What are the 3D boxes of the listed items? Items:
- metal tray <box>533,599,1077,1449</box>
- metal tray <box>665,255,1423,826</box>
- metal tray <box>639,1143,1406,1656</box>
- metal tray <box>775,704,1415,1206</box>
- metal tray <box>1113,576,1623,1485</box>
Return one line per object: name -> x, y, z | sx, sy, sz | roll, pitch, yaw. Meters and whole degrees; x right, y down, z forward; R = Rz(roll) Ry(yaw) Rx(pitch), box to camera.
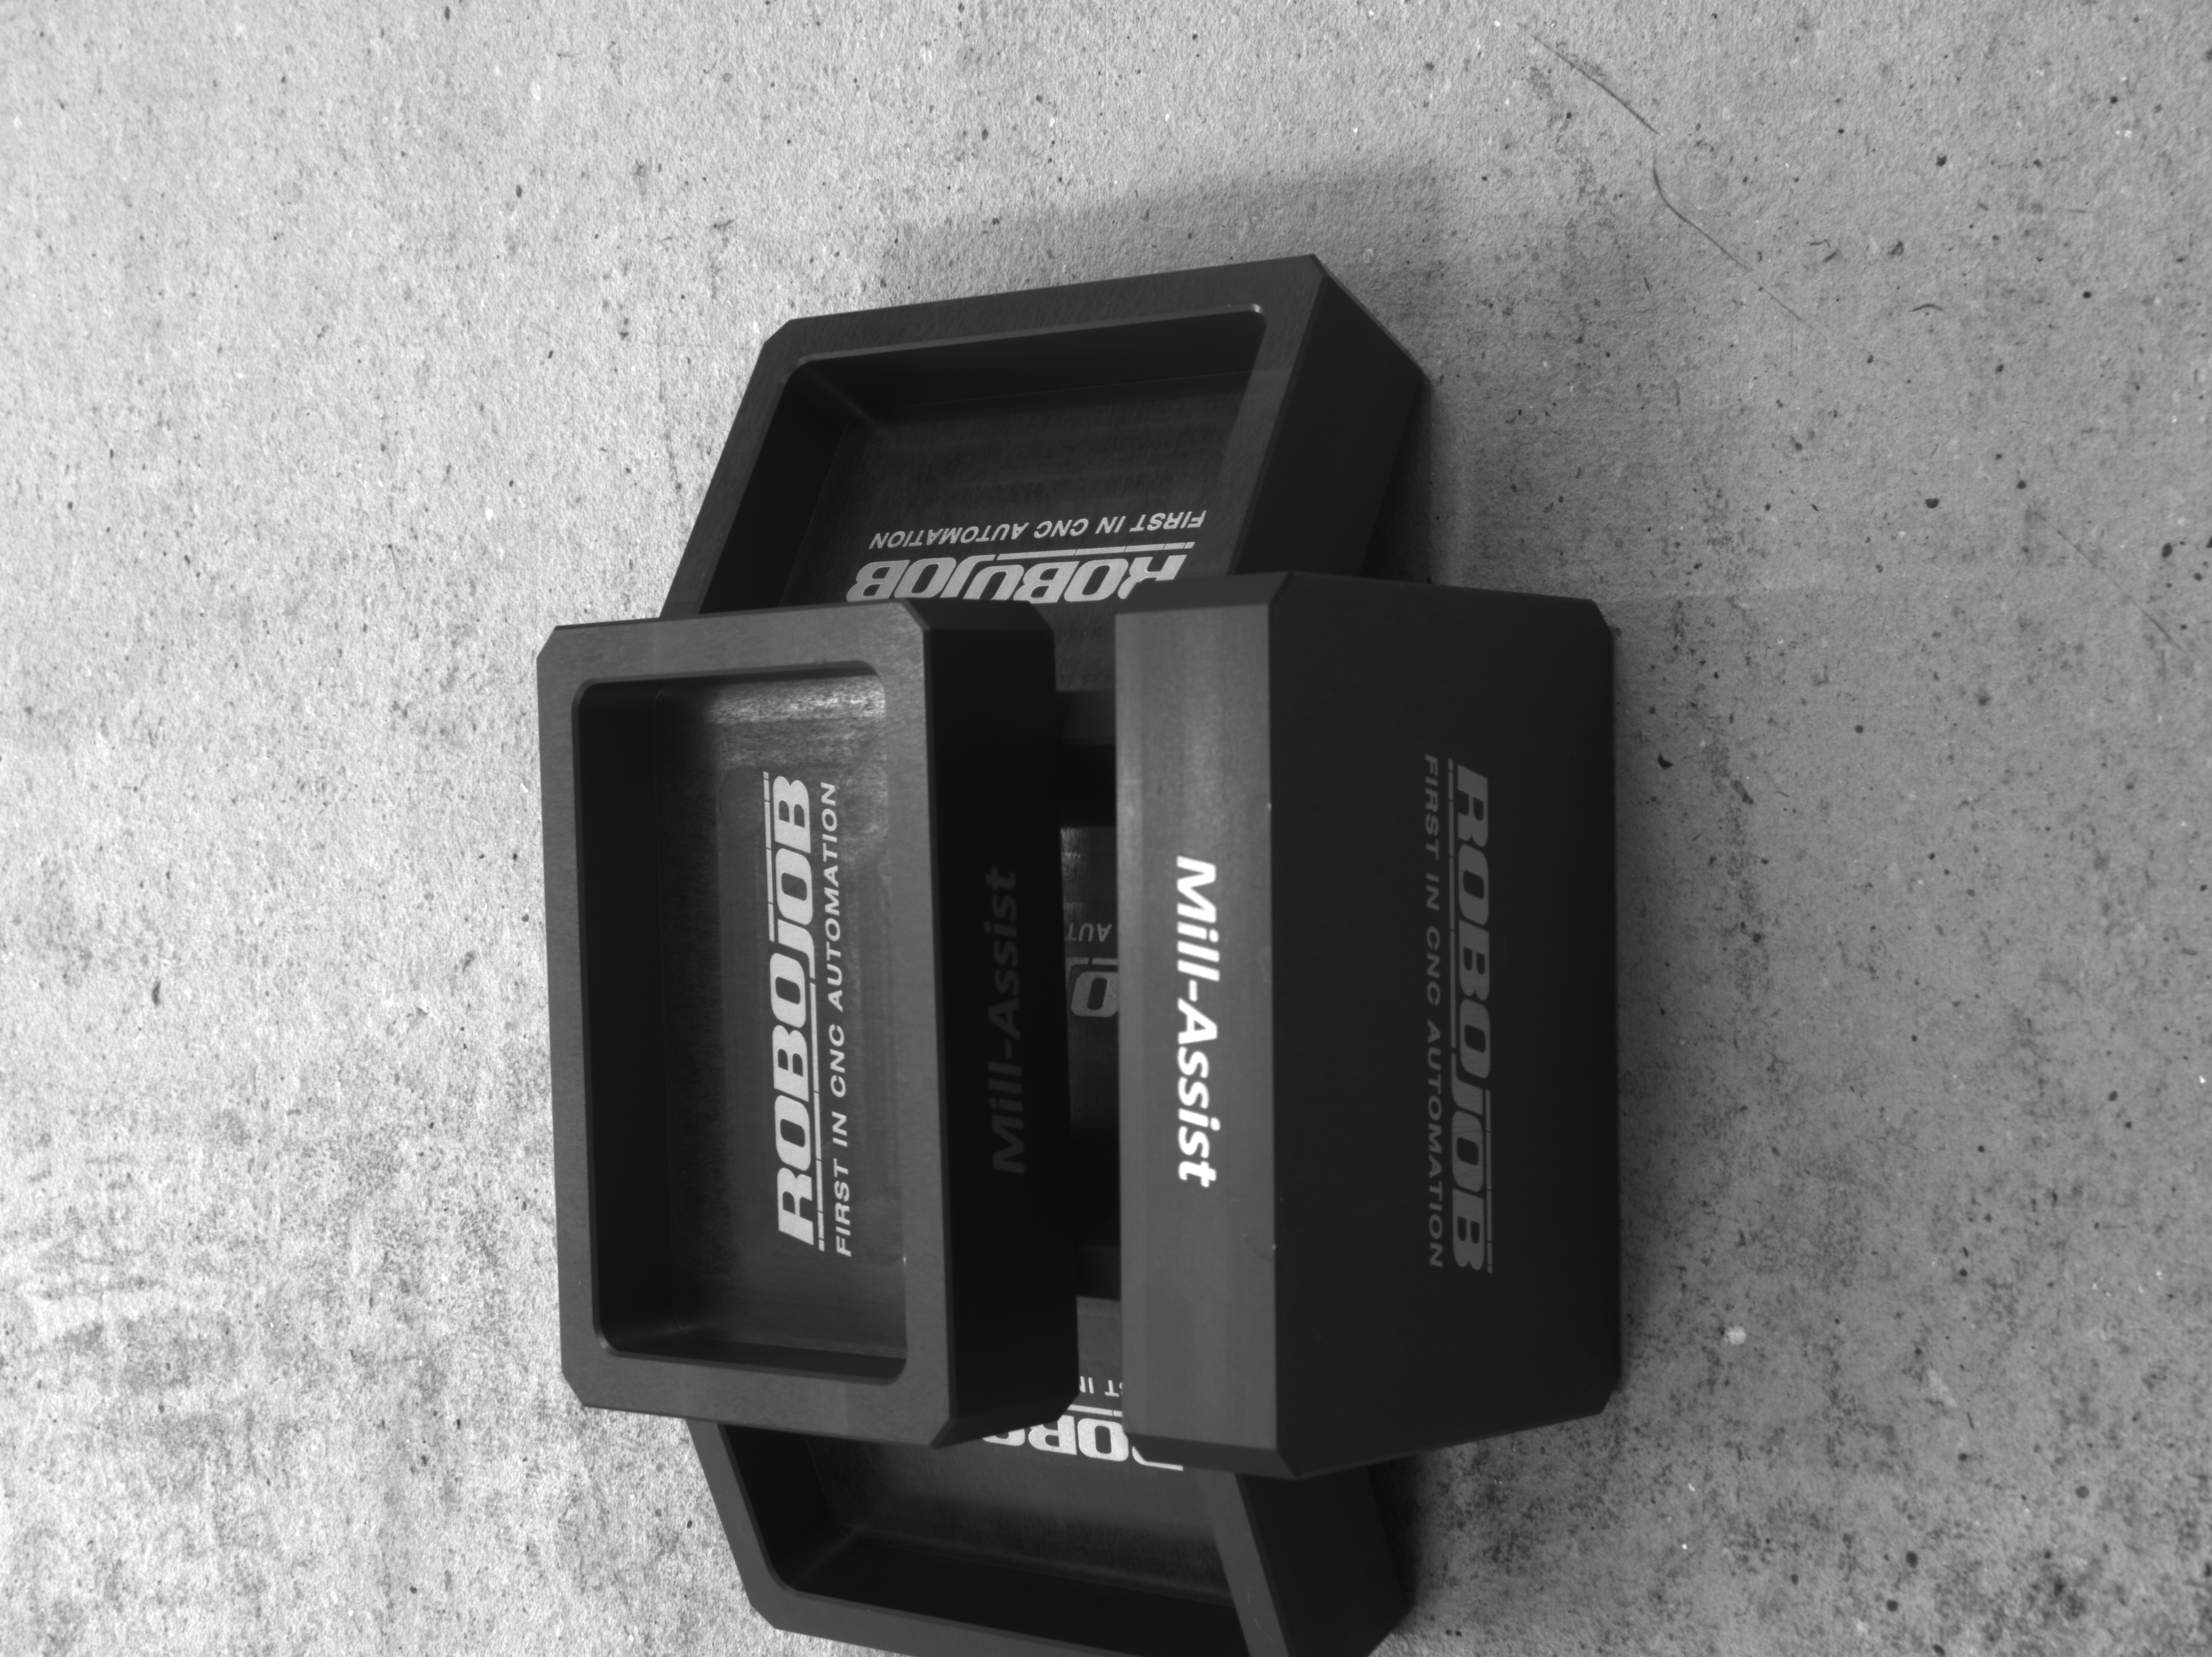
metal tray -> -0.050, 0.030, 0.599 | 0.090, 0.030, 0.130 | -1, 91, 40
metal tray -> -0.016, -0.047, 0.633 | 0.130, 0.030, 0.090 | 0, 63, 40
metal tray -> -0.018, 0.101, 0.635 | 0.130, 0.030, 0.090 | 0, 115, 40
metal tray -> -0.002, 0.024, 0.642 | 0.130, 0.030, 0.090 | -1, 91, 40
metal tray -> 0.042, 0.029, 0.567 | 0.030, 0.090, 0.130 | -1, 90, 40
